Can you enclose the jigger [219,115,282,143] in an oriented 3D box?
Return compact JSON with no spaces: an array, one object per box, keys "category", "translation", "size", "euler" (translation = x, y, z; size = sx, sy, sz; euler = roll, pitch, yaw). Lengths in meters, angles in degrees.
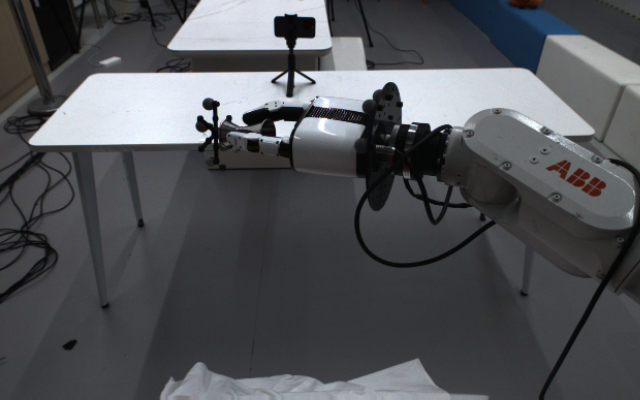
[{"category":"jigger","translation":[-0.095,-0.093,0.668],"size":[0.071,0.043,0.043],"euler":[5,34,21]}]
